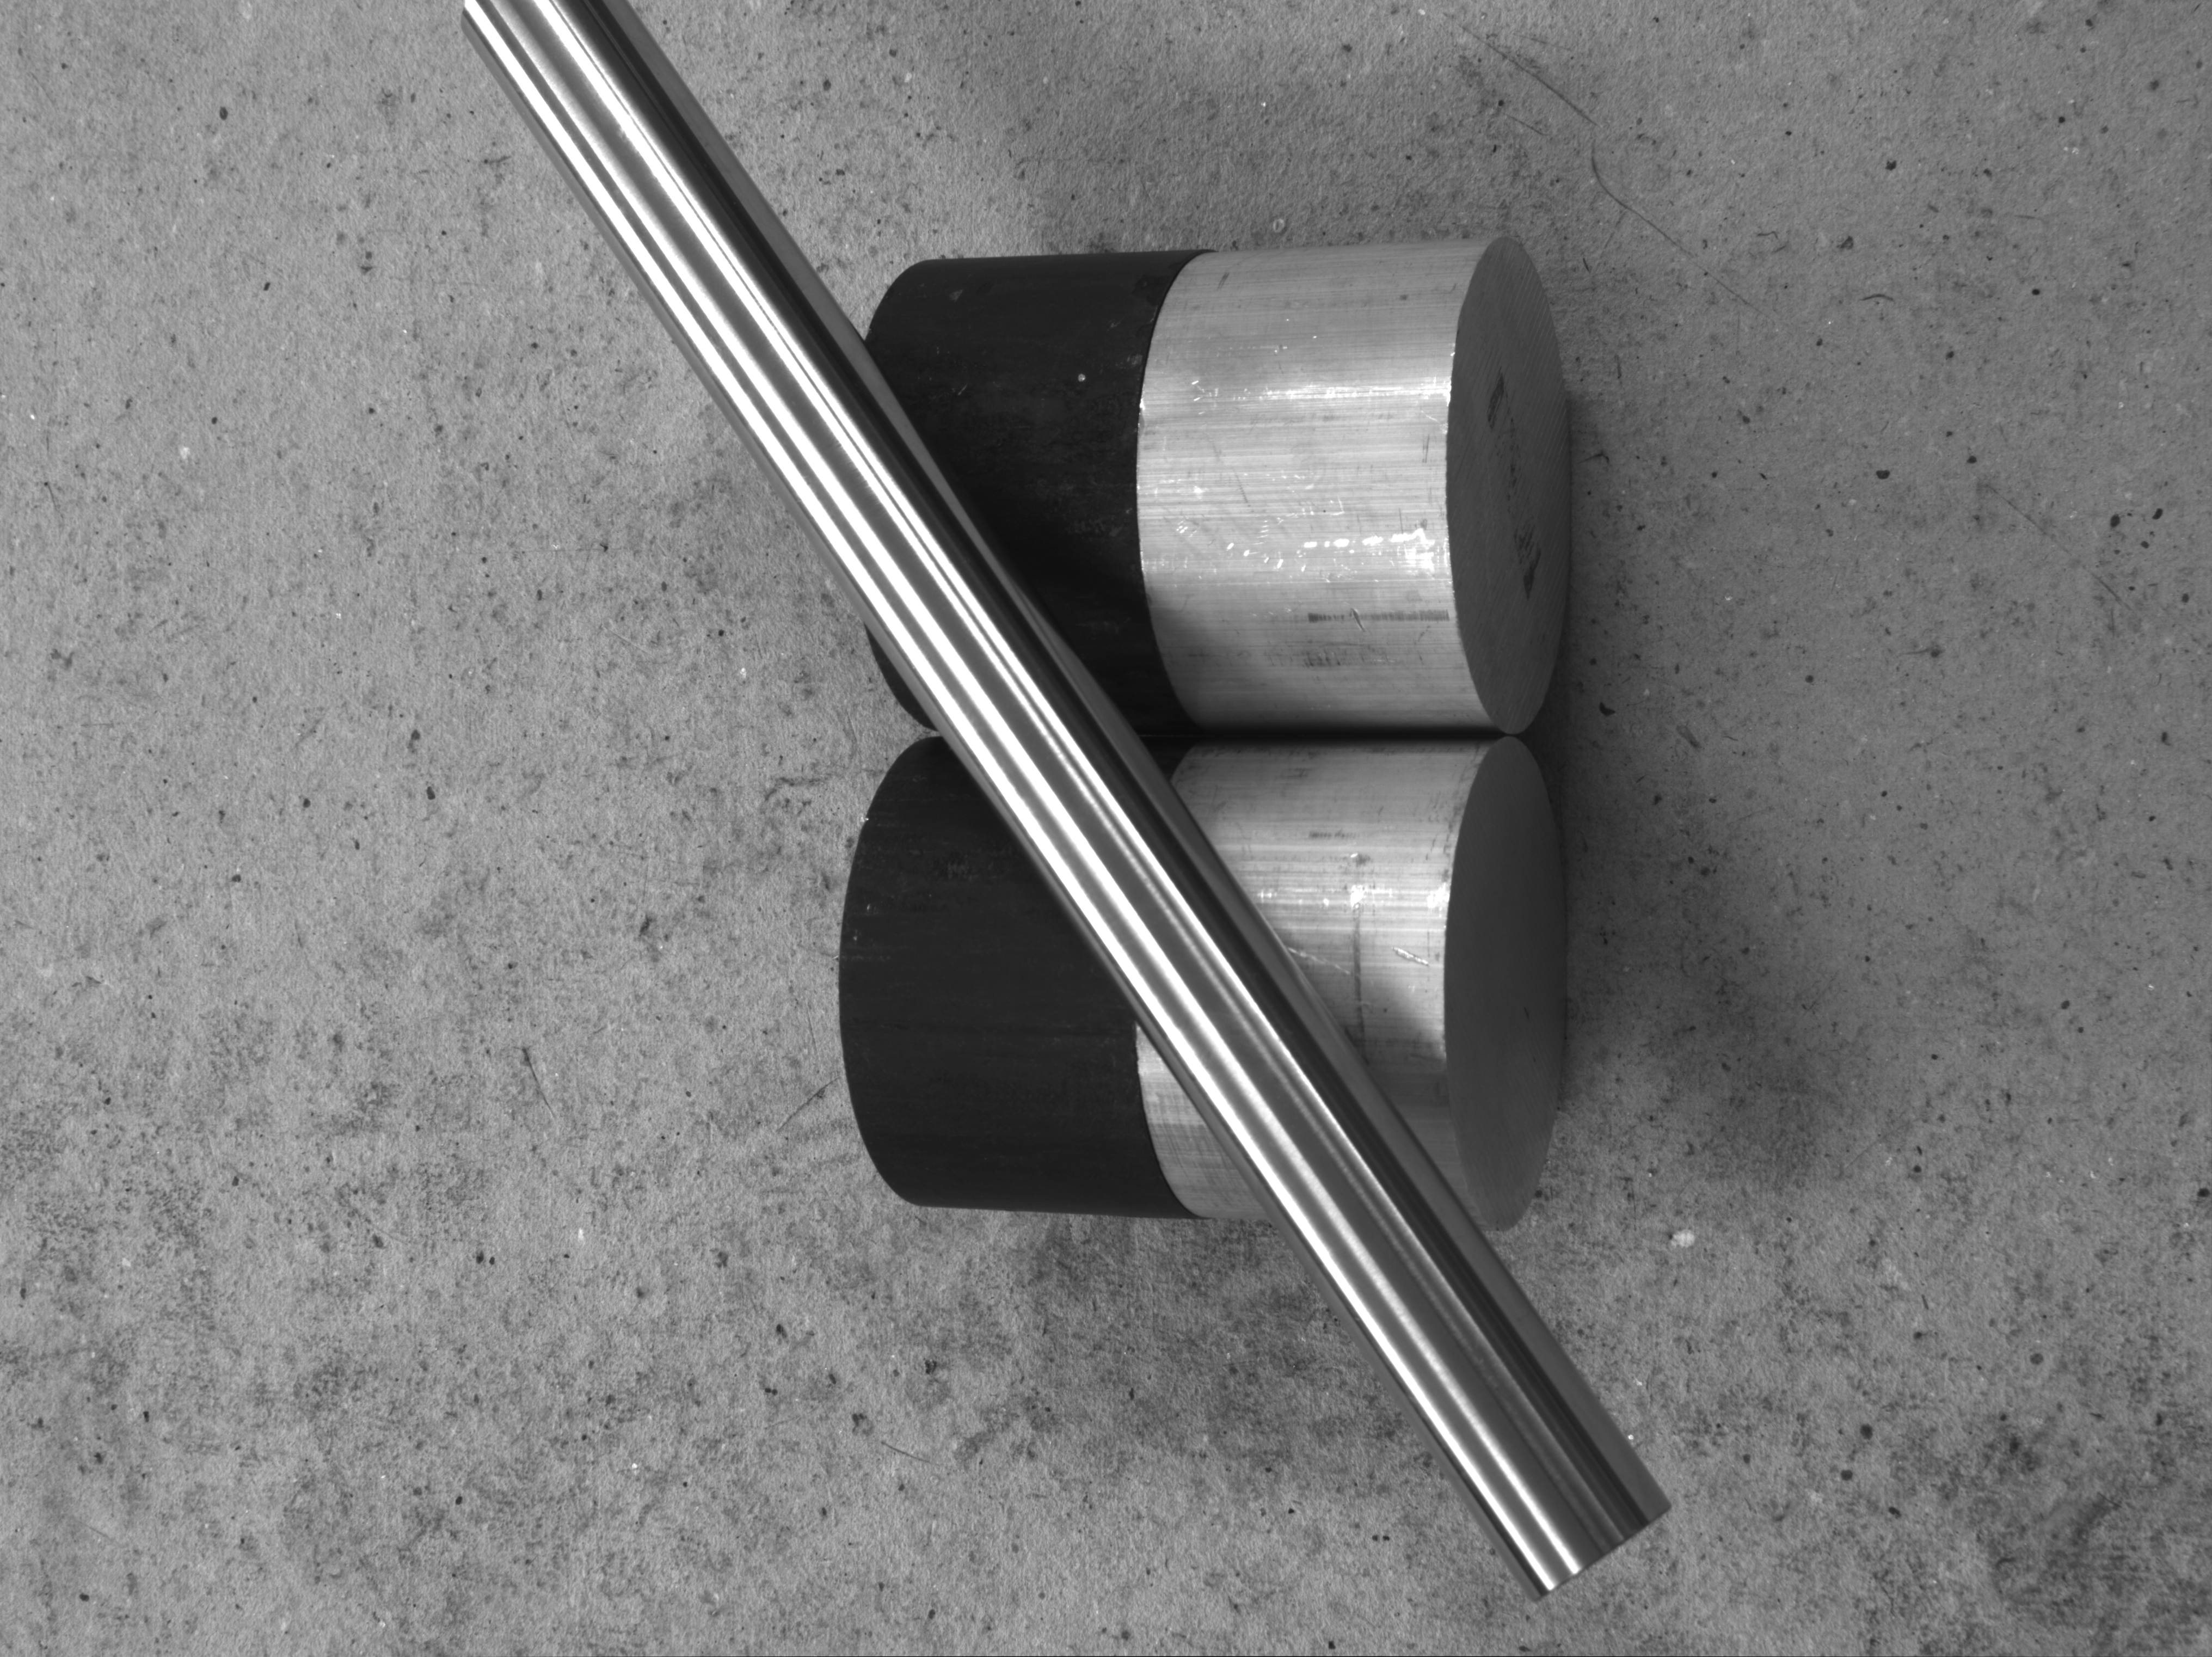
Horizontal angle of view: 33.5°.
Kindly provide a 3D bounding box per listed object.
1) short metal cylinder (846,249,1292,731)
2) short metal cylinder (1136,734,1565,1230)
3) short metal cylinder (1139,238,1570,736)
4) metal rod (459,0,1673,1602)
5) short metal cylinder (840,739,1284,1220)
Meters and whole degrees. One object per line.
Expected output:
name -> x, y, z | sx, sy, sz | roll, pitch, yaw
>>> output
short metal cylinder -> -0.004, -0.056, 0.620 | 0.050, 0.080, 0.080 | 1, 90, 20
short metal cylinder -> 0.042, 0.025, 0.603 | 0.050, 0.080, 0.080 | 1, 90, 20
short metal cylinder -> 0.042, -0.055, 0.603 | 0.050, 0.080, 0.080 | 1, 90, 20
metal rod -> -0.011, -0.015, 0.566 | 0.025, 0.025, 0.300 | -38, 78, 16
short metal cylinder -> -0.005, 0.025, 0.620 | 0.050, 0.080, 0.080 | 1, 90, 20
